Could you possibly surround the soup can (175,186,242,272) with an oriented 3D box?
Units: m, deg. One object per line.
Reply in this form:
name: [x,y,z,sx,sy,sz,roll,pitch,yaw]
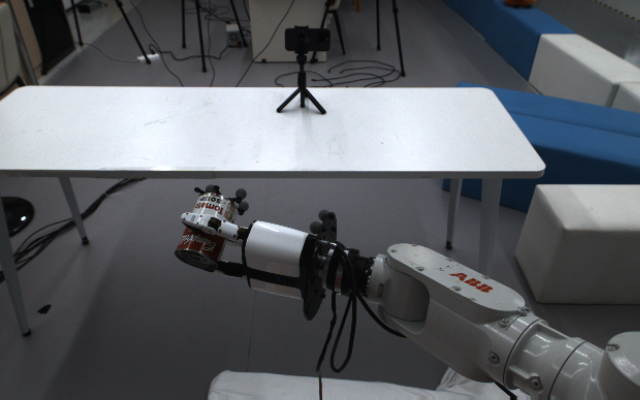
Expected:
soup can: [-0.174,0.051,0.750,0.067,0.067,0.101,9,60,10]
